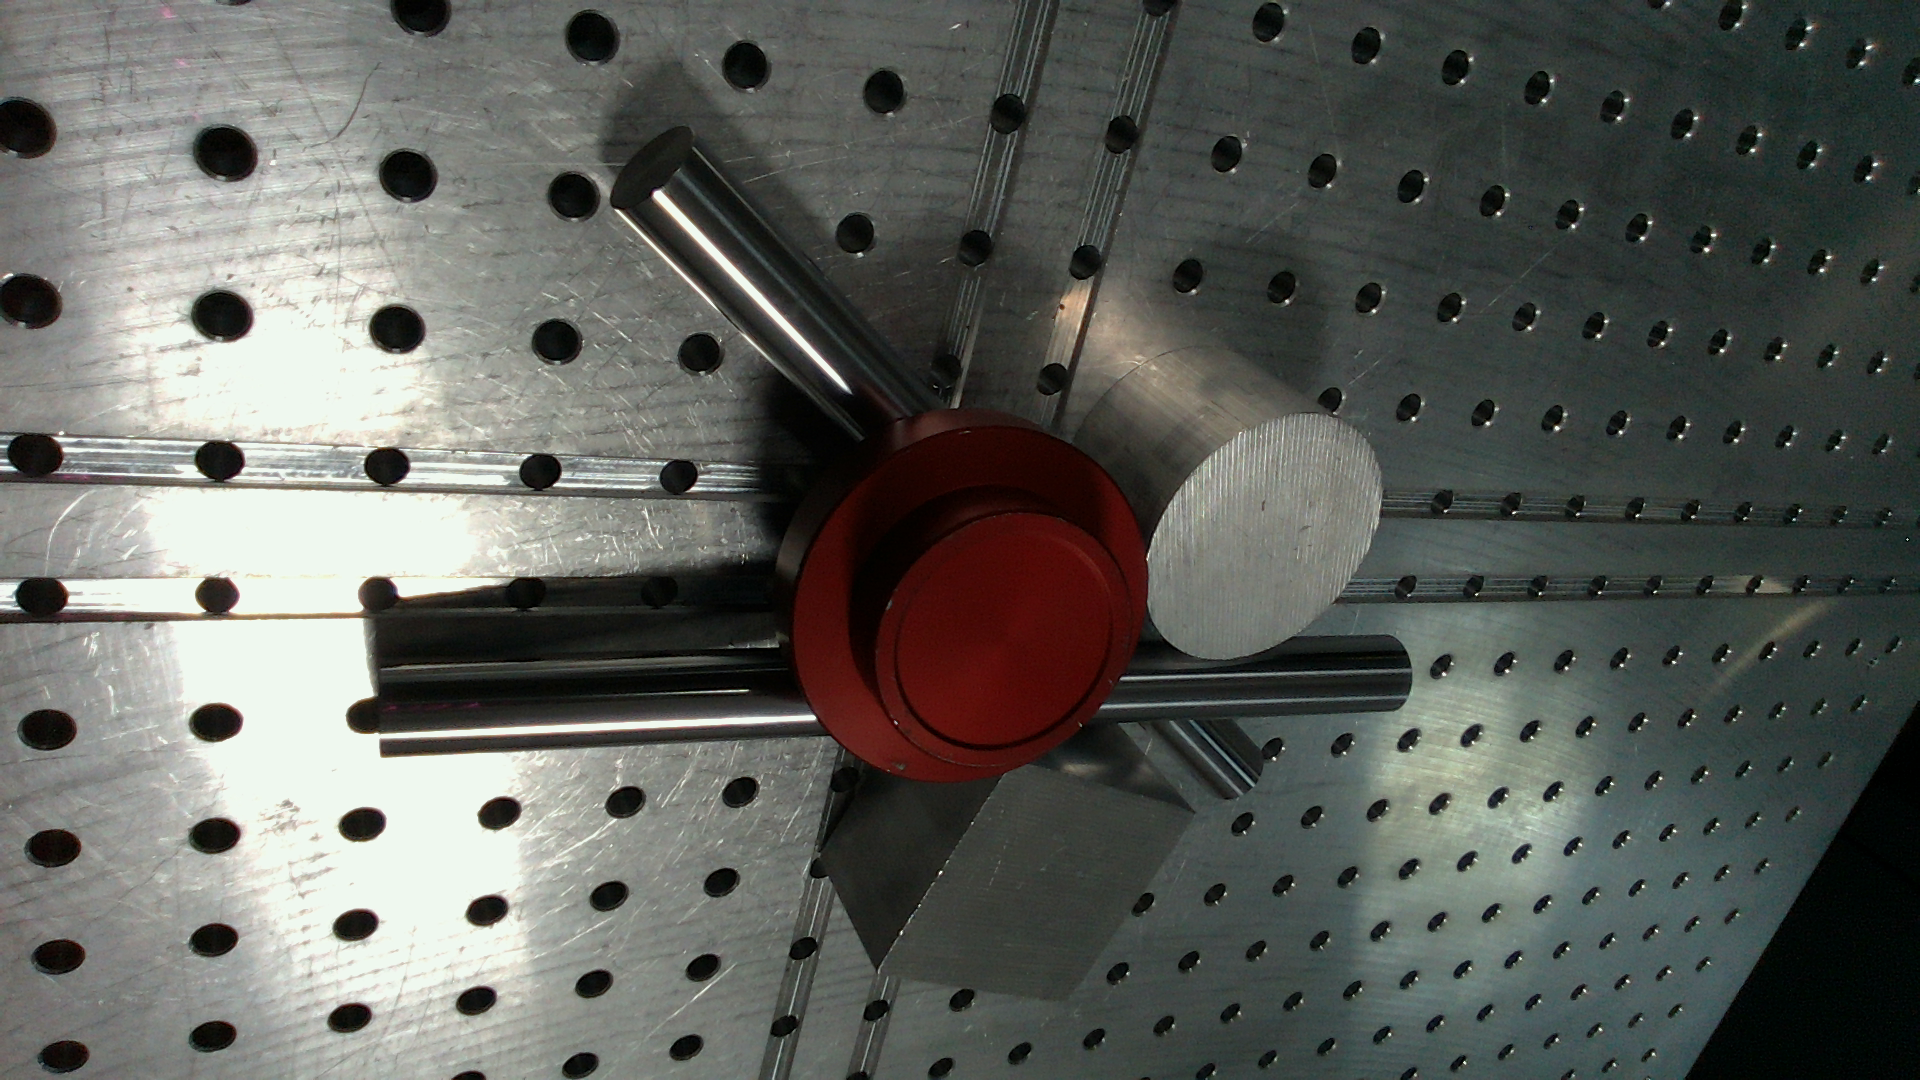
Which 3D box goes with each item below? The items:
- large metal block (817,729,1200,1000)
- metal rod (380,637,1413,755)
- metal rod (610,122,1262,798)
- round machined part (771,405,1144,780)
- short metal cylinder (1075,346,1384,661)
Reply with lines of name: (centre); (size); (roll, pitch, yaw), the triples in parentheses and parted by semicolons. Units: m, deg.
large metal block: (0.015, 0.094, 0.439); (0.080, 0.050, 0.080); (22, 107, -36)
metal rod: (-0.002, 0.042, 0.393); (0.301, 0.025, 0.025); (1, 118, -20)
metal rod: (0.014, -0.001, 0.400); (0.025, 0.025, 0.301); (-44, 129, 2)
round machined part: (0.004, 0.018, 0.351); (0.098, 0.042, 0.098); (-8, 112, -19)
short metal cylinder: (0.077, -0.011, 0.410); (0.080, 0.050, 0.080); (-14, 124, -21)
